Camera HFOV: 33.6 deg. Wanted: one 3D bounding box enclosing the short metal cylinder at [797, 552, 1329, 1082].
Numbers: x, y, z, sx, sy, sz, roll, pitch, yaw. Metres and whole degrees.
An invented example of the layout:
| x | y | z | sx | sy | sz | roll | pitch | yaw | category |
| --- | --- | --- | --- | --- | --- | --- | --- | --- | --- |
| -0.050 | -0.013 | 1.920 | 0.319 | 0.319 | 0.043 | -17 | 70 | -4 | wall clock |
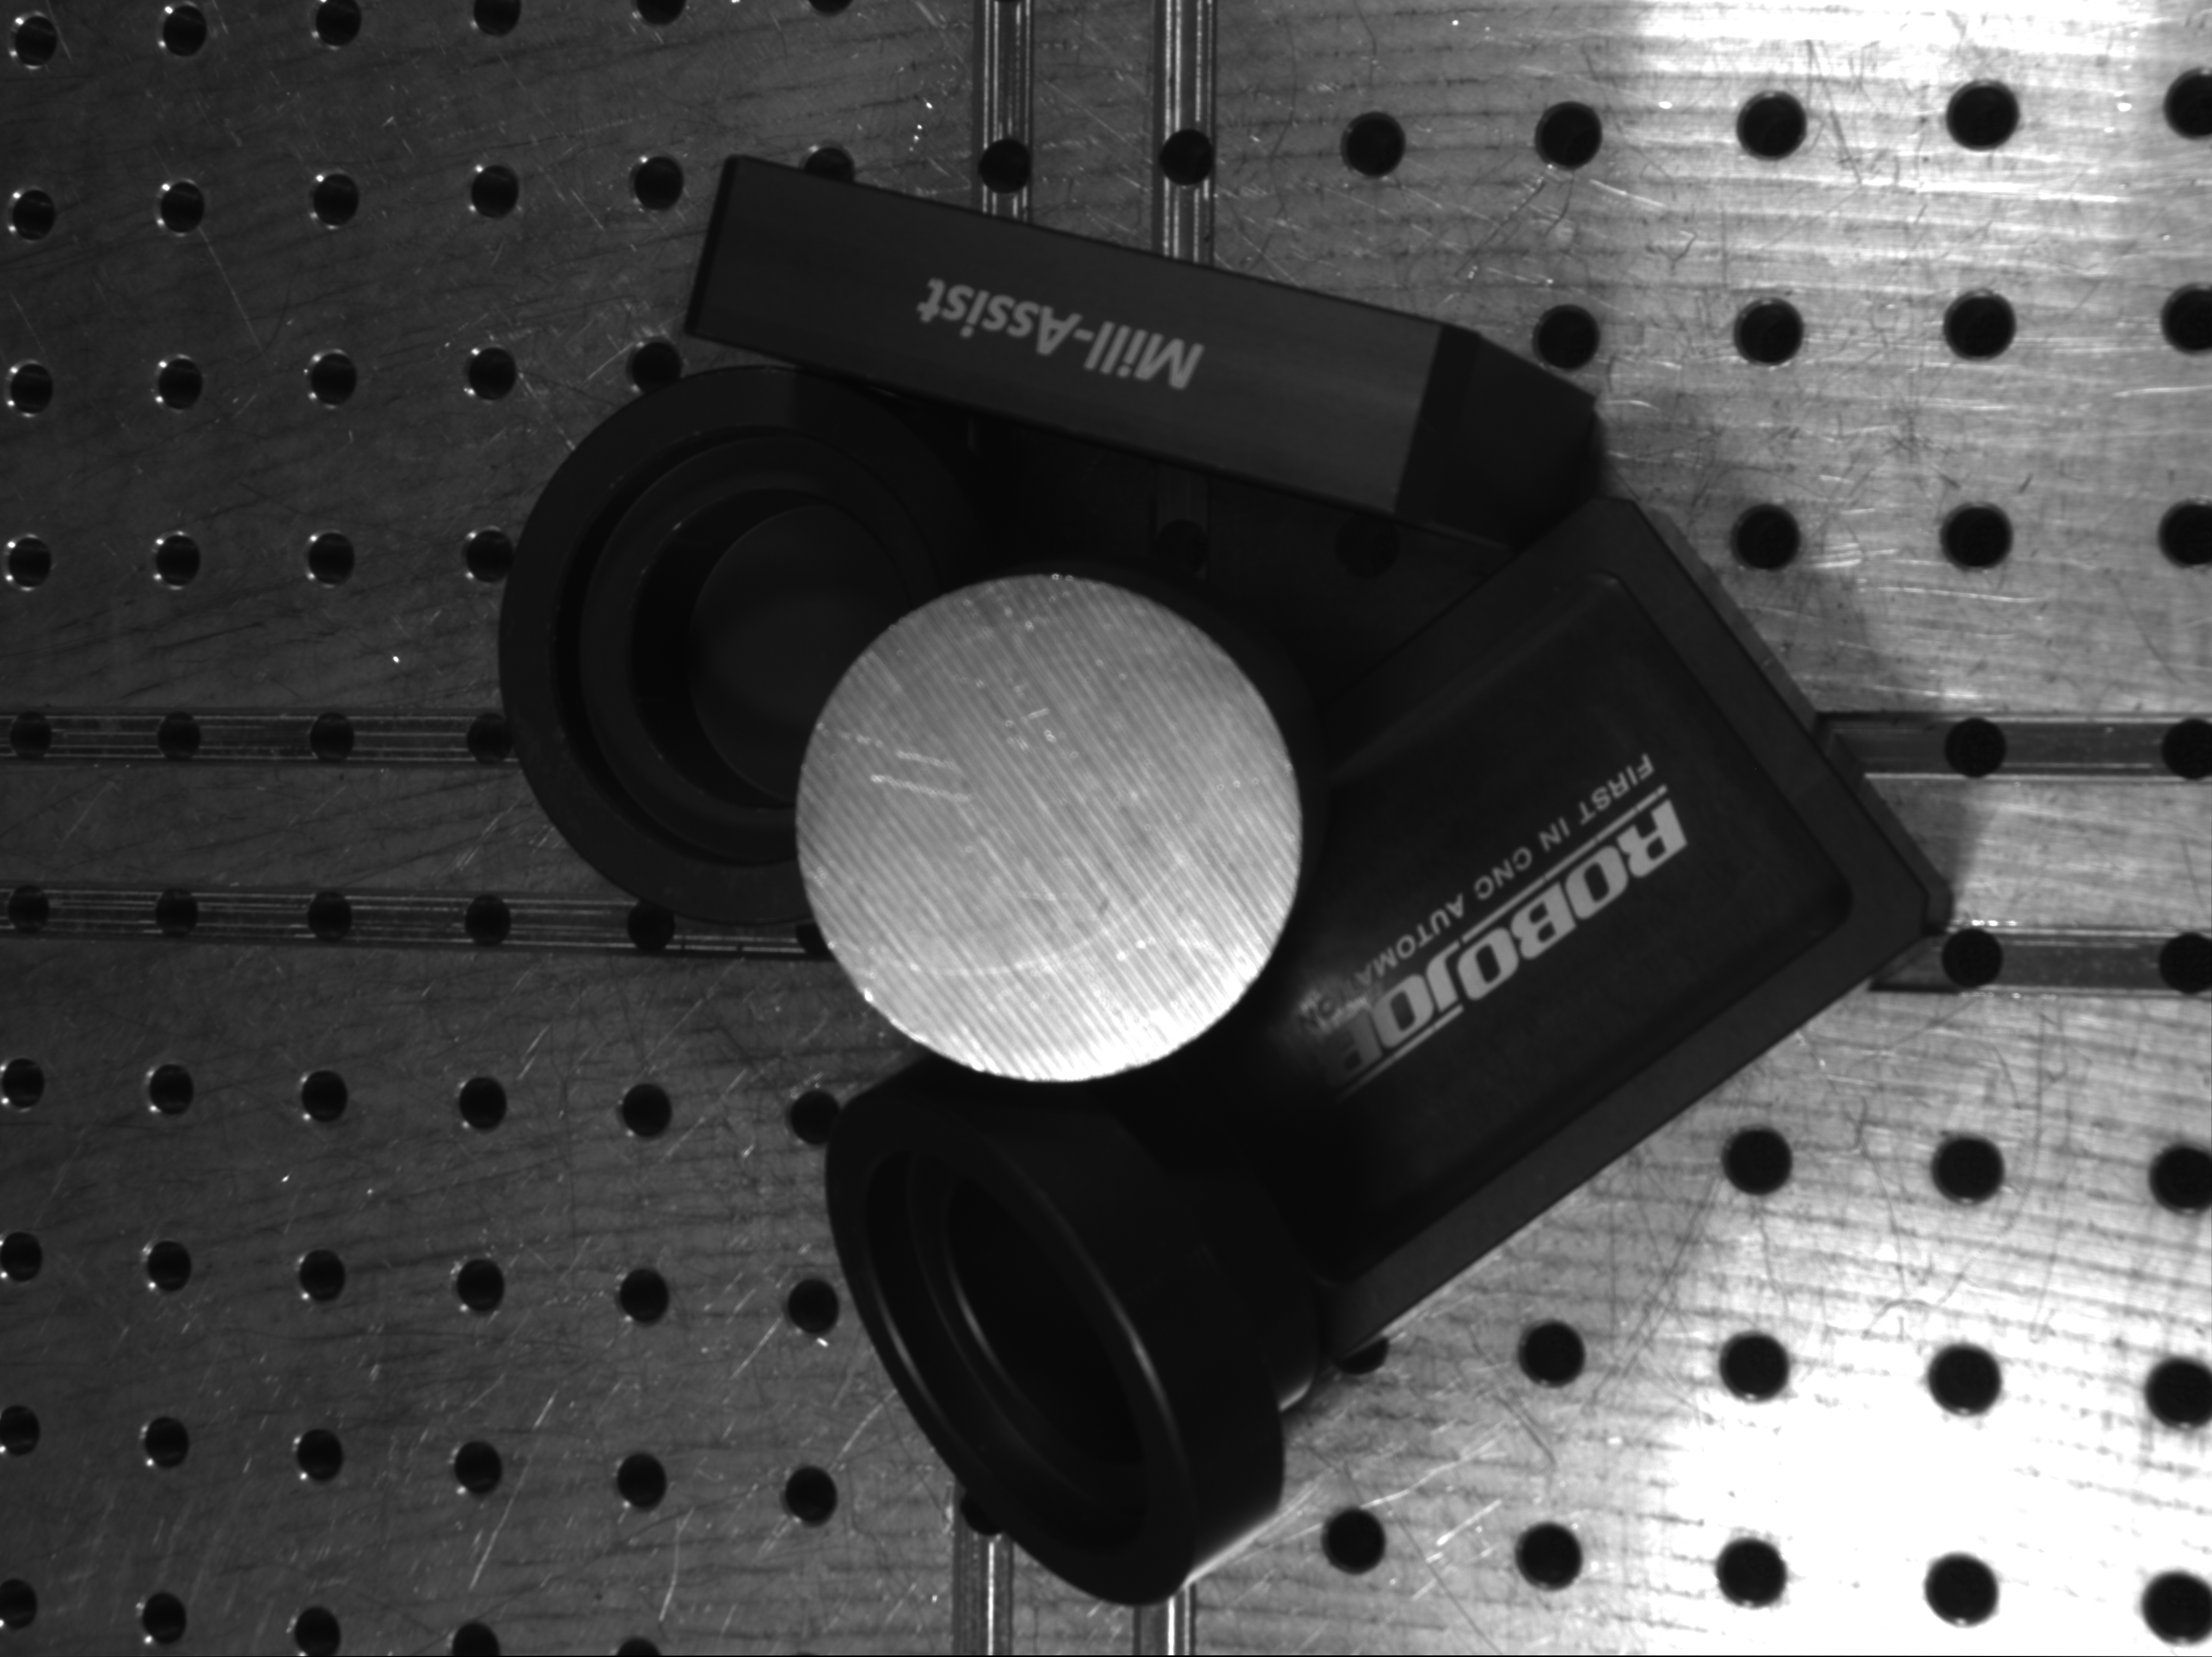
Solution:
| x | y | z | sx | sy | sz | roll | pitch | yaw | category |
| --- | --- | --- | --- | --- | --- | --- | --- | --- | --- |
| -0.006 | -0.003 | 0.596 | 0.080 | 0.050 | 0.080 | 1 | 99 | 8 | short metal cylinder |

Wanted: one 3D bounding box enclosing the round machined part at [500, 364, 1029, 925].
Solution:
| x | y | z | sx | sy | sz | roll | pitch | yaw | category |
| --- | --- | --- | --- | --- | --- | --- | --- | --- | --- |
| -0.056 | -0.032 | 0.658 | 0.098 | 0.042 | 0.098 | 0 | 90 | 20 | round machined part |

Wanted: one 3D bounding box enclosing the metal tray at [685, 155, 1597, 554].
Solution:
| x | y | z | sx | sy | sz | roll | pitch | yaw | category |
| --- | --- | --- | --- | --- | --- | --- | --- | --- | --- |
| 0.008 | -0.077 | 0.609 | 0.130 | 0.090 | 0.030 | 16 | 95 | 19 | metal tray |

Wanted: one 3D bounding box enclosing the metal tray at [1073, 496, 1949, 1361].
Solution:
| x | y | z | sx | sy | sz | roll | pitch | yaw | category |
| --- | --- | --- | --- | --- | --- | --- | --- | --- | --- |
| 0.064 | 0.017 | 0.620 | 0.130 | 0.030 | 0.090 | -38 | 78 | 16 | metal tray |

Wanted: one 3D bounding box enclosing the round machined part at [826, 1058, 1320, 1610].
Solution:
| x | y | z | sx | sy | sz | roll | pitch | yaw | category |
| --- | --- | --- | --- | --- | --- | --- | --- | --- | --- |
| -0.002 | 0.079 | 0.620 | 0.098 | 0.042 | 0.098 | 37 | 143 | 35 | round machined part |
